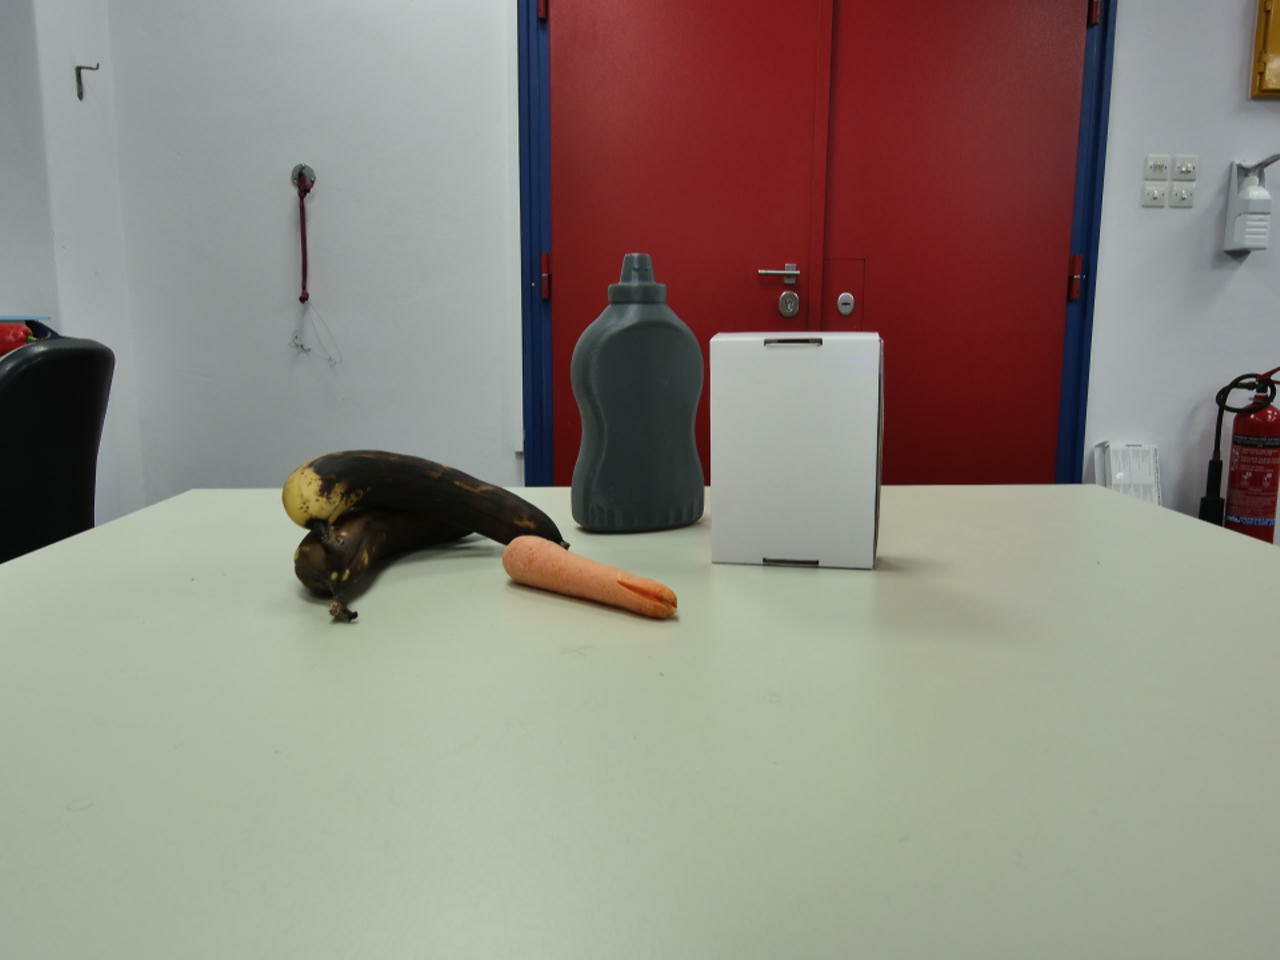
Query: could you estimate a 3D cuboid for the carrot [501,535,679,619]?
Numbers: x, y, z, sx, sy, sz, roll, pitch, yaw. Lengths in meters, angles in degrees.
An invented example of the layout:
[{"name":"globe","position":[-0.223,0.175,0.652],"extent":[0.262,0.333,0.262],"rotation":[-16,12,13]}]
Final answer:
[{"name":"carrot","position":[-0.031,0.053,0.572],"extent":[0.136,0.032,0.030],"rotation":[7,9,44]}]
